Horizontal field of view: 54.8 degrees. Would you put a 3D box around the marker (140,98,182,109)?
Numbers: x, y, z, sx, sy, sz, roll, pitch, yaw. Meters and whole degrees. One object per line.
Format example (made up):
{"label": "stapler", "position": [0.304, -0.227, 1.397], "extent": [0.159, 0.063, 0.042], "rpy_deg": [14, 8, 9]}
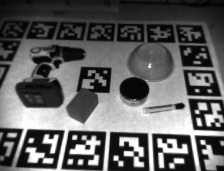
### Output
{"label": "marker", "position": [0.140, 0.051, 0.619], "extent": [0.121, 0.020, 0.019], "rpy_deg": [-7, 57, -5]}

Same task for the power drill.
{"label": "power drill", "position": [-0.200, -0.049, 0.673], "extent": [0.185, 0.057, 0.186], "rpy_deg": [3, 53, -2]}

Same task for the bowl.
{"label": "bowl", "position": [0.113, -0.103, 0.716], "extent": [0.161, 0.055, 0.161], "rpy_deg": [-2, 49, 3]}

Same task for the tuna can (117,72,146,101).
{"label": "tuna can", "position": [0.057, 0.002, 0.644], "extent": [0.086, 0.034, 0.085], "rpy_deg": [1, 56, -1]}

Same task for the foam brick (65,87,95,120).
{"label": "foam brick", "position": [-0.090, 0.049, 0.612], "extent": [0.051, 0.053, 0.078], "rpy_deg": [23, 60, 14]}
